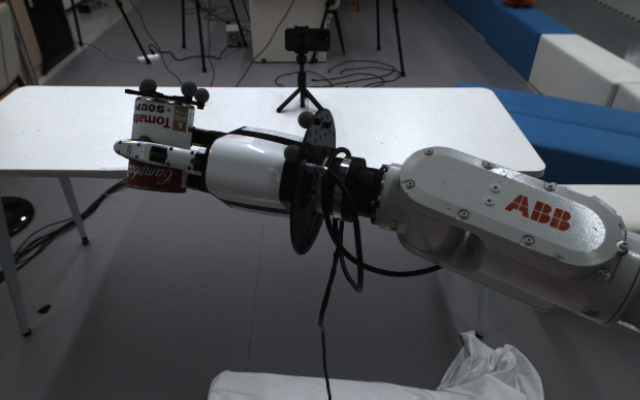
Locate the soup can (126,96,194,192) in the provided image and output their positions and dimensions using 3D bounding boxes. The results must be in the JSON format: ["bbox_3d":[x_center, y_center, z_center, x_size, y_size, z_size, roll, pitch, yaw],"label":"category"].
[{"bbox_3d":[-0.184,-0.061,0.562,0.067,0.101,0.067,7,3,0],"label":"soup can"}]
